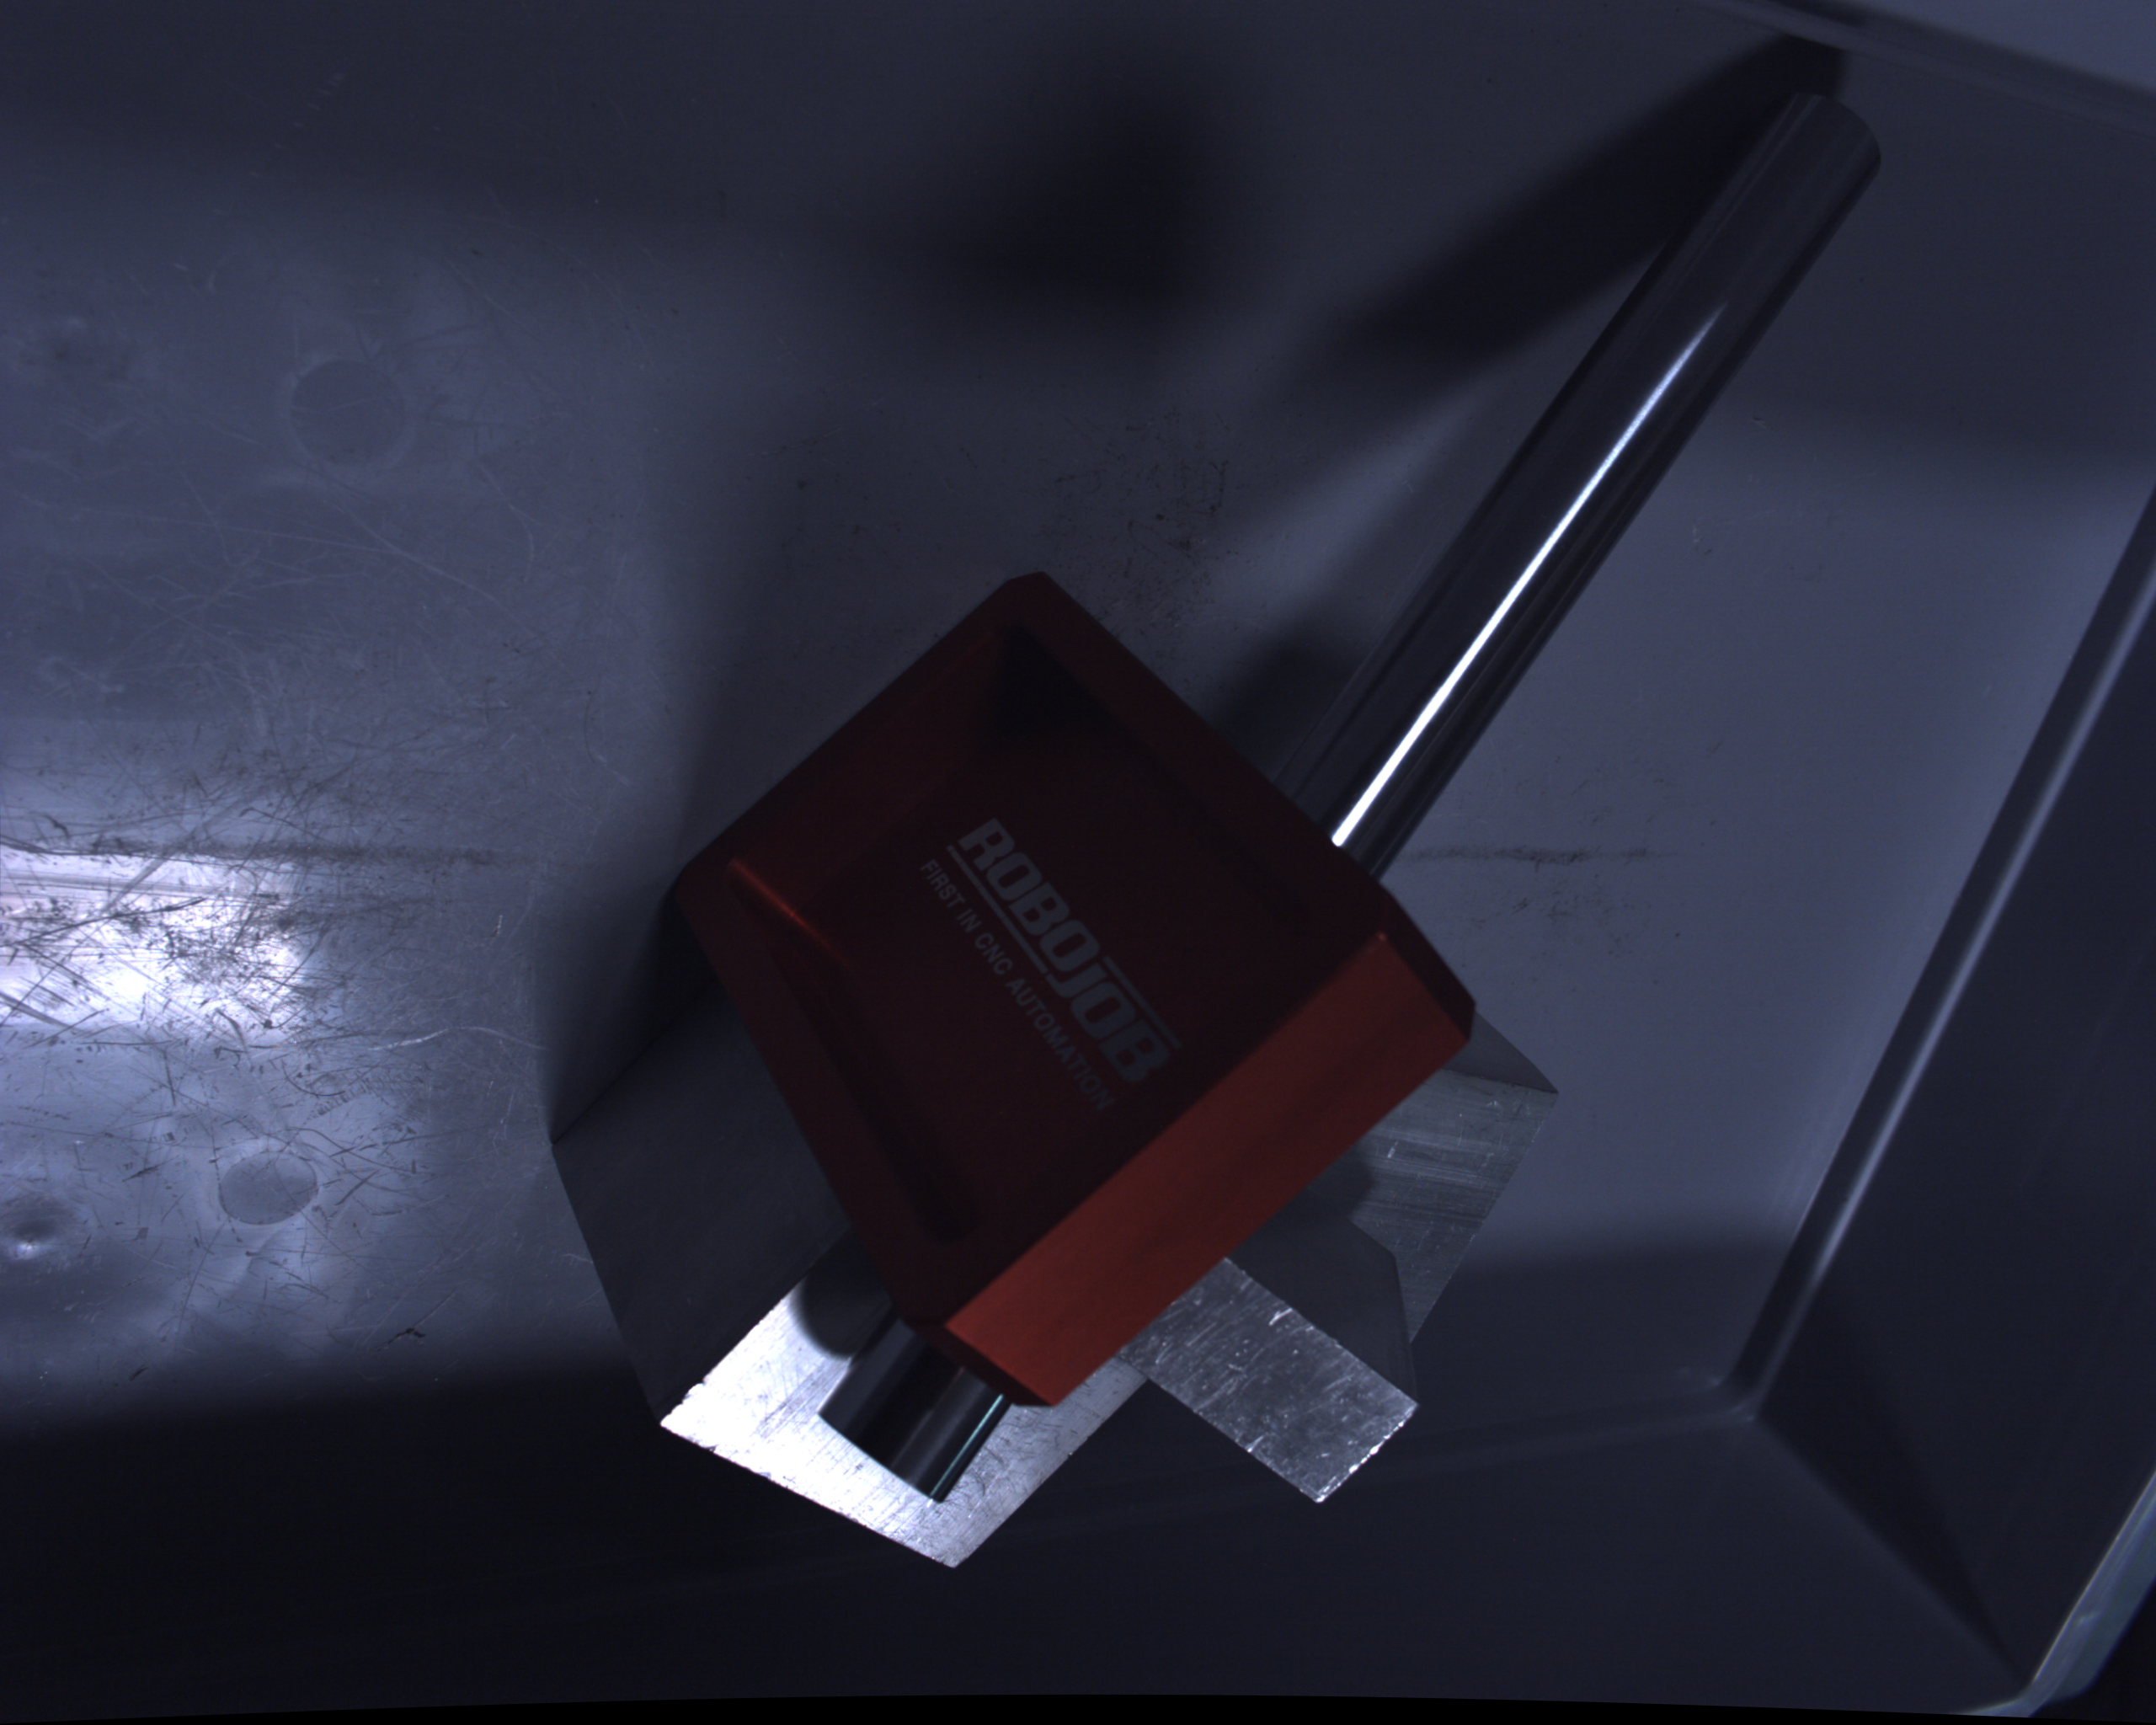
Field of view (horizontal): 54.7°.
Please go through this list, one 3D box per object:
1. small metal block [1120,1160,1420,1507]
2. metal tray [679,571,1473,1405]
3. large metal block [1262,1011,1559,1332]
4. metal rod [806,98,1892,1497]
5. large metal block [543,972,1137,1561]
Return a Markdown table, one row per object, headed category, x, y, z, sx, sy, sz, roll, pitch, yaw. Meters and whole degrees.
| category | x | y | z | sx | sy | sz | roll | pitch | yaw |
| --- | --- | --- | --- | --- | --- | --- | --- | --- | --- |
| small metal block | 0.029 | 0.073 | 0.358 | 0.050 | 0.050 | 0.025 | 39 | 106 | -8 |
| metal tray | -0.008 | 0.013 | 0.344 | 0.090 | 0.130 | 0.030 | -41 | 129 | 1 |
| large metal block | 0.038 | 0.053 | 0.428 | 0.050 | 0.080 | 0.080 | 14 | 111 | -35 |
| metal rod | 0.056 | -0.022 | 0.367 | 0.300 | 0.025 | 0.025 | -52 | 131 | -13 |
| large metal block | -0.045 | 0.074 | 0.395 | 0.050 | 0.080 | 0.080 | -45 | 130 | 3 |
